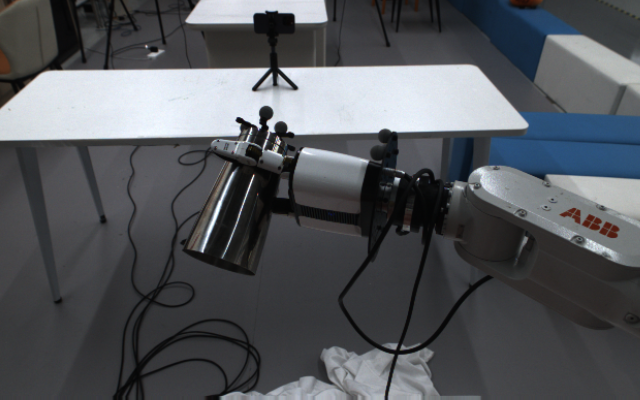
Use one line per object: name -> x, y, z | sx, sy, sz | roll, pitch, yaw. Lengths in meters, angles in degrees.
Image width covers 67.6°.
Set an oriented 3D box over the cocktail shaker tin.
cocktail shaker tin -> -0.096, -0.004, 0.608 | 0.093, 0.093, 0.170 | 13, 72, 15
